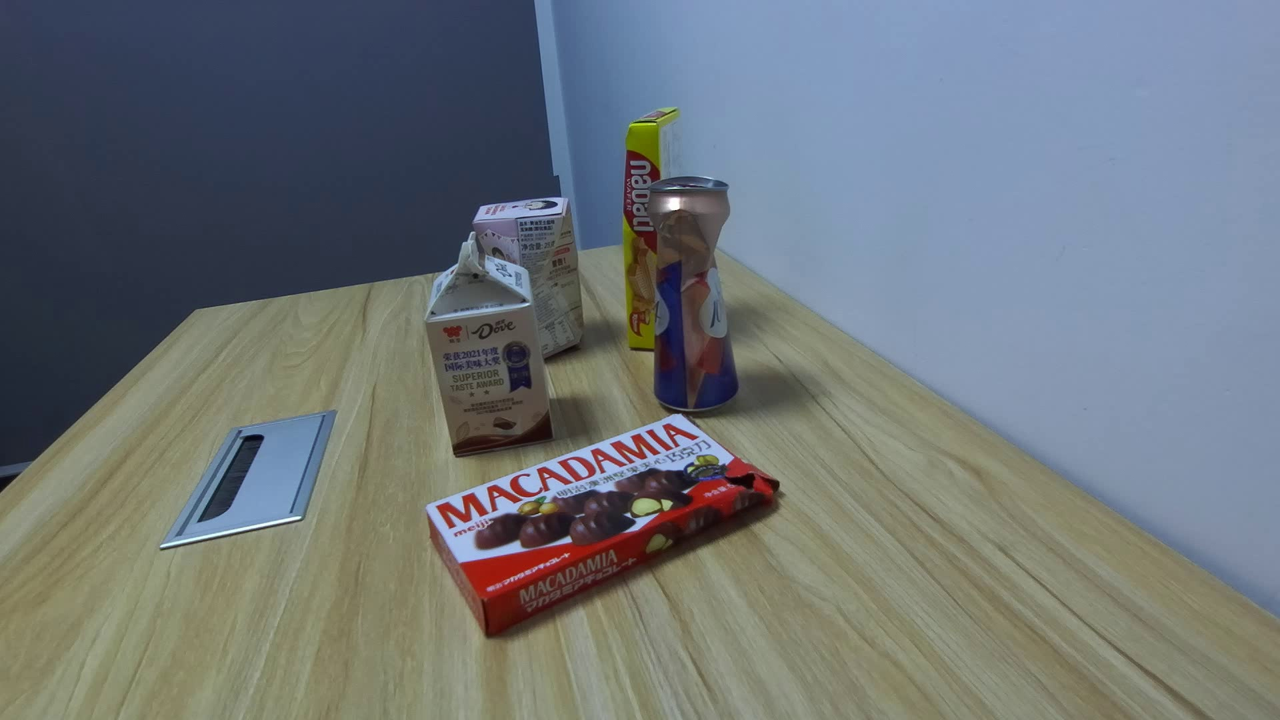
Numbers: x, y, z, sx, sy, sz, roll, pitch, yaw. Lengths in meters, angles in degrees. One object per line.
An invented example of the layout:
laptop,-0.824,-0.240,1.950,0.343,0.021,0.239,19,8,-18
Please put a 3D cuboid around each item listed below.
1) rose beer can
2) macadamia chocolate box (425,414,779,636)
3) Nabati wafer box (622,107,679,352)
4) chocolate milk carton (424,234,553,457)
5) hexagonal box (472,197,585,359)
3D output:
rose beer can,0.039,-0.045,0.514,0.065,0.167,0.076,5,23,18
macadamia chocolate box,-0.018,0.084,0.410,0.187,0.027,0.102,-19,29,-27
Nabati wafer box,0.015,-0.117,0.638,0.042,0.203,0.096,6,28,18
chocolate milk carton,-0.108,-0.017,0.502,0.074,0.148,0.075,-9,26,-8
hexagonal box,-0.100,-0.076,0.656,0.093,0.135,0.088,-22,29,-32
